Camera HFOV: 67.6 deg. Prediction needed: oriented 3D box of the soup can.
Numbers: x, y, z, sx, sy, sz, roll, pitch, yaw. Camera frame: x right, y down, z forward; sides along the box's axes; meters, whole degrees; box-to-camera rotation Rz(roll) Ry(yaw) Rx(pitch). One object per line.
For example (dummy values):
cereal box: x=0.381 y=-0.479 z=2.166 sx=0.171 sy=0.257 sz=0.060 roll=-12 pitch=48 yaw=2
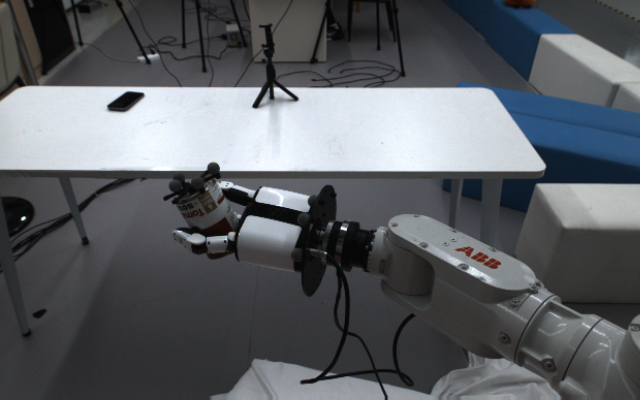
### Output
soup can: x=-0.157 y=0.028 z=0.707 sx=0.067 sy=0.101 sz=0.067 roll=-22 pitch=24 yaw=10
